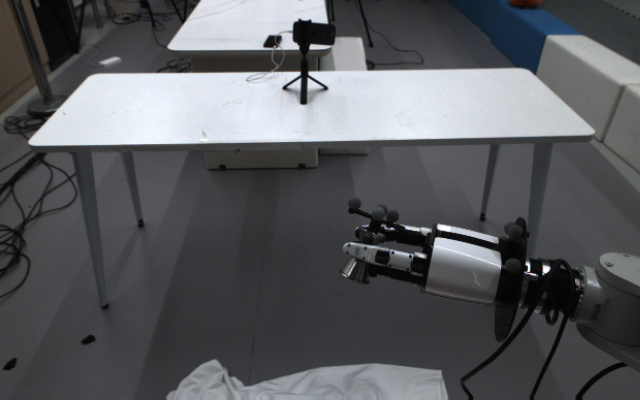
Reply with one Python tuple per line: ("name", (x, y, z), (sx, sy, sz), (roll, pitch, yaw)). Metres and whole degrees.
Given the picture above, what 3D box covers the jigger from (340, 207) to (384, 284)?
("jigger", (0.057, 0.072, 0.648), (0.043, 0.071, 0.043), (22, 5, -2))
